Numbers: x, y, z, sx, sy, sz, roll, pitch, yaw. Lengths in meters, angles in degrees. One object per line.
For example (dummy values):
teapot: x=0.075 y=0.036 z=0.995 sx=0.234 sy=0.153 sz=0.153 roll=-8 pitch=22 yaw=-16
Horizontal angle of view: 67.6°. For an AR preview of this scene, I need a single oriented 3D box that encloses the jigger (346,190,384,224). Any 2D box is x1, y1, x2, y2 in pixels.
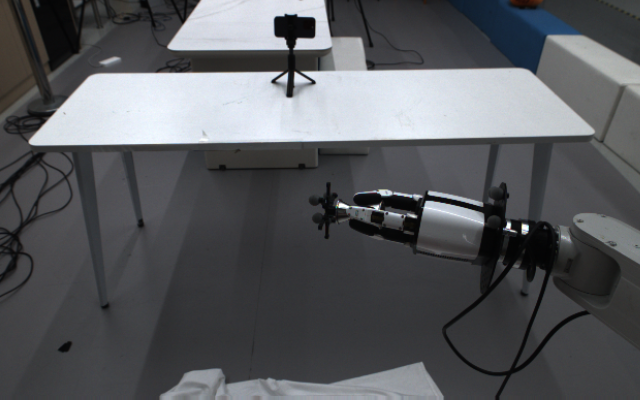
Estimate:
jigger: x=0.068 y=0.015 z=0.734 sx=0.071 sy=0.043 sz=0.043 roll=3 pitch=34 yaw=17
